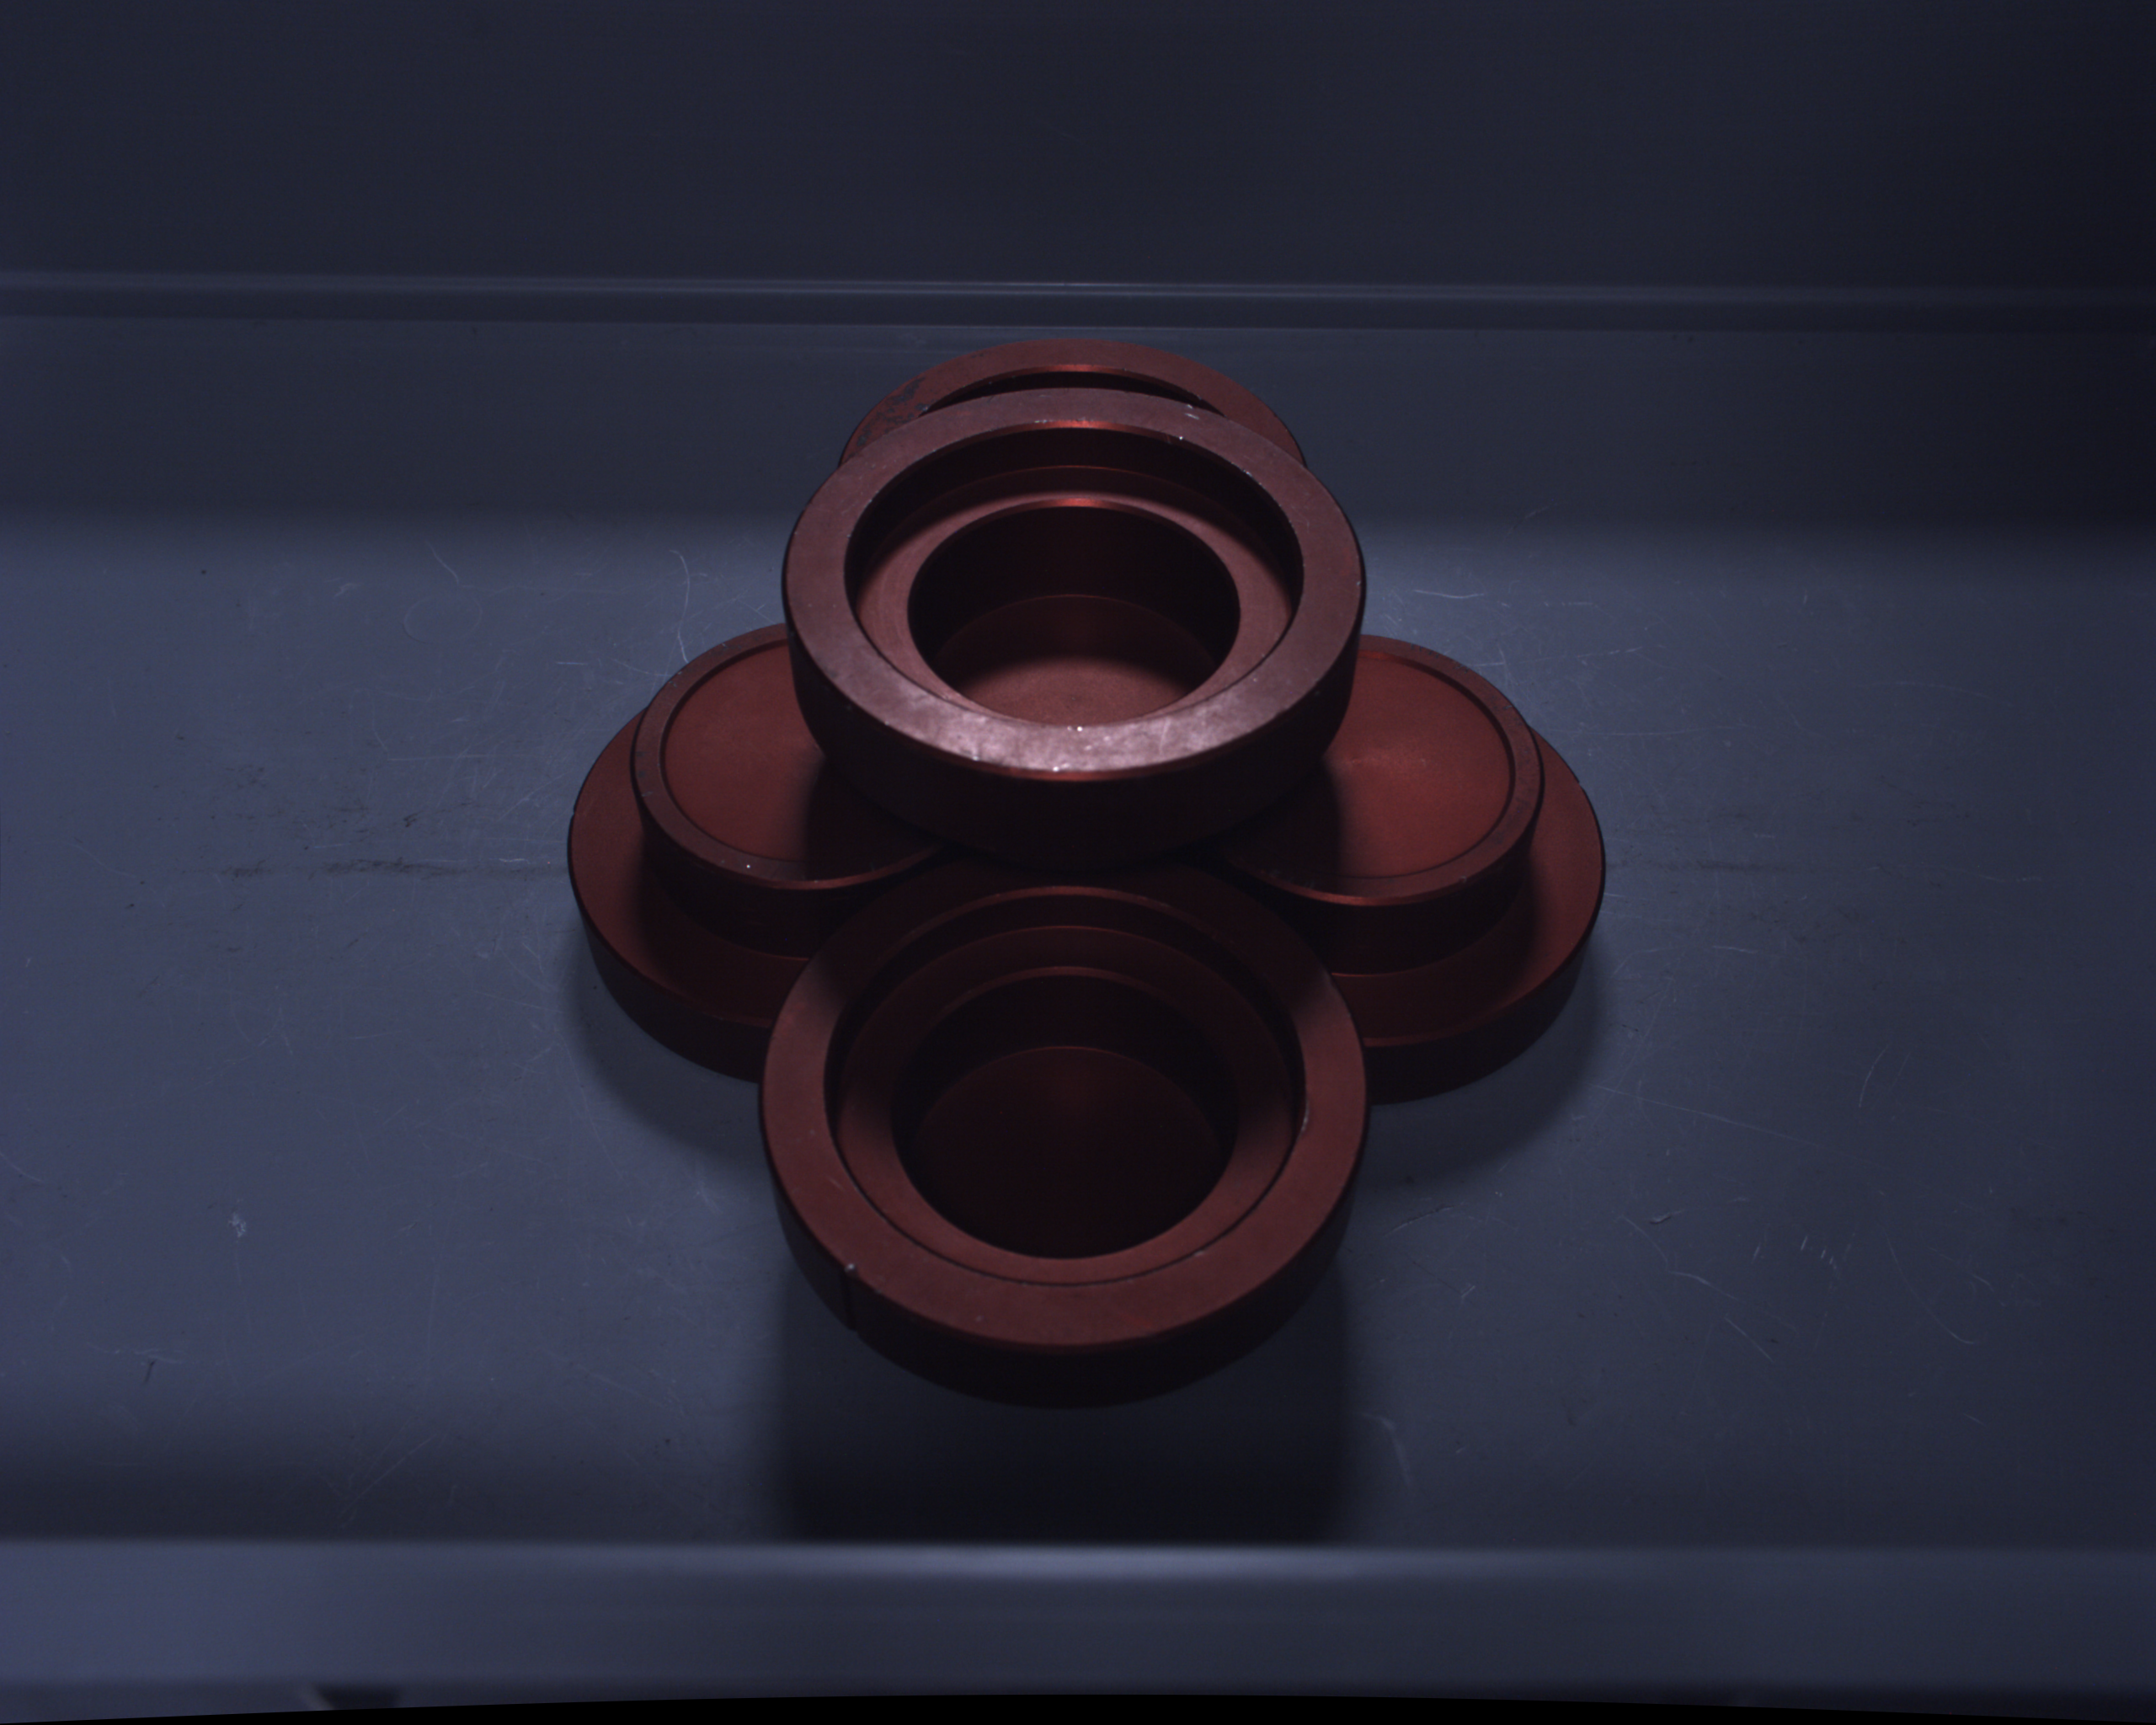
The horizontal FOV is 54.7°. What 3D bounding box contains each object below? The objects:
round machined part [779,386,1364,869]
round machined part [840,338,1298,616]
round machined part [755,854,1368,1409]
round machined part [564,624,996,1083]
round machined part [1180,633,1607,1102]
[{"bbox_3d":[-0.001,-0.037,0.368,0.099,0.042,0.098,0,50,0],"label":"round machined part"},{"bbox_3d":[-0.002,-0.066,0.447,0.099,0.042,0.098,0,50,0],"label":"round machined part"},{"bbox_3d":[-0.003,0.047,0.352,0.099,0.042,0.098,0,50,0],"label":"round machined part"},{"bbox_3d":[-0.048,-0.009,0.398,0.099,0.042,0.098,0,50,0],"label":"round machined part"},{"bbox_3d":[0.051,-0.006,0.397,0.099,0.042,0.098,0,50,0],"label":"round machined part"}]
